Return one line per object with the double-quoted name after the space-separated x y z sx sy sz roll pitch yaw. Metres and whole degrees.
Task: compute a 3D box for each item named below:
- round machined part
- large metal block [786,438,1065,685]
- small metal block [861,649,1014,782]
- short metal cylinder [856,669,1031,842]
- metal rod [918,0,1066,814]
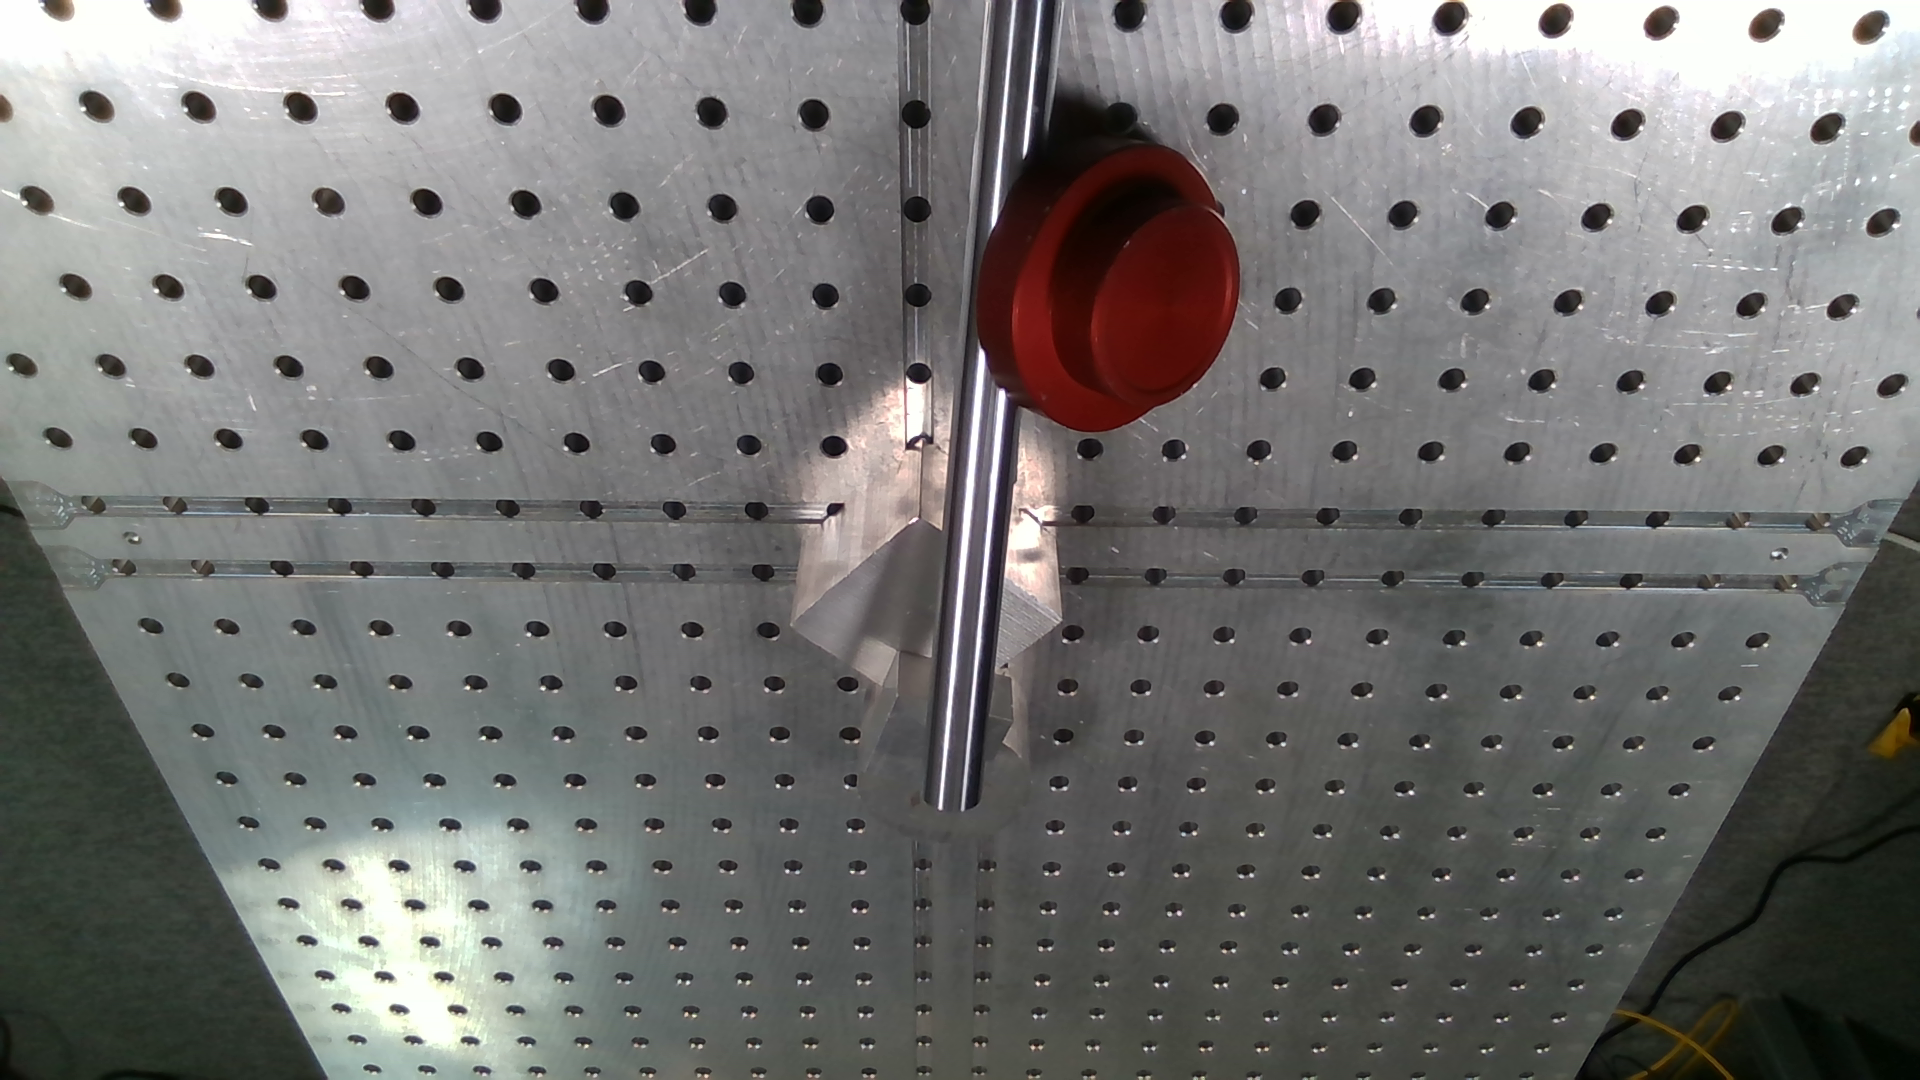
0.056 -0.083 0.467 0.098 0.042 0.098 -19 122 -33 "round machined part"
-0.014 0.018 0.578 0.080 0.050 0.080 36 121 -26 "large metal block"
-0.010 0.077 0.579 0.050 0.025 0.050 14 129 -12 "small metal block"
-0.008 0.097 0.647 0.080 0.050 0.080 0 130 0 "short metal cylinder"
0.008 -0.035 0.496 0.025 0.025 0.301 4 113 -3 "metal rod"
